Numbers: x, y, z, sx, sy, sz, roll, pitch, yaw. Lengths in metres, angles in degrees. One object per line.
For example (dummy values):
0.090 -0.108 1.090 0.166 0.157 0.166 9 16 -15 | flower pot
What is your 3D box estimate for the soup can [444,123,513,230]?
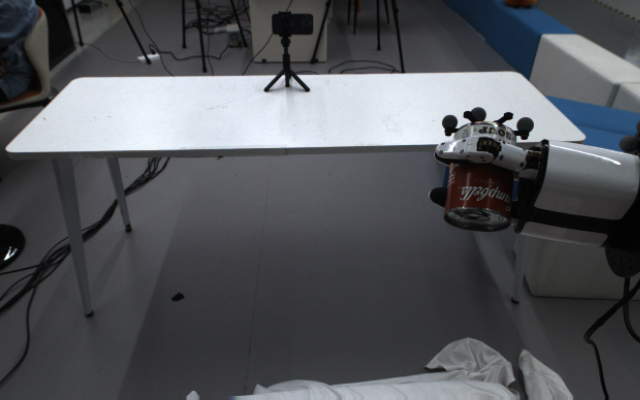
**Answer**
0.175 -0.025 0.520 0.067 0.067 0.101 9 70 10 | soup can
